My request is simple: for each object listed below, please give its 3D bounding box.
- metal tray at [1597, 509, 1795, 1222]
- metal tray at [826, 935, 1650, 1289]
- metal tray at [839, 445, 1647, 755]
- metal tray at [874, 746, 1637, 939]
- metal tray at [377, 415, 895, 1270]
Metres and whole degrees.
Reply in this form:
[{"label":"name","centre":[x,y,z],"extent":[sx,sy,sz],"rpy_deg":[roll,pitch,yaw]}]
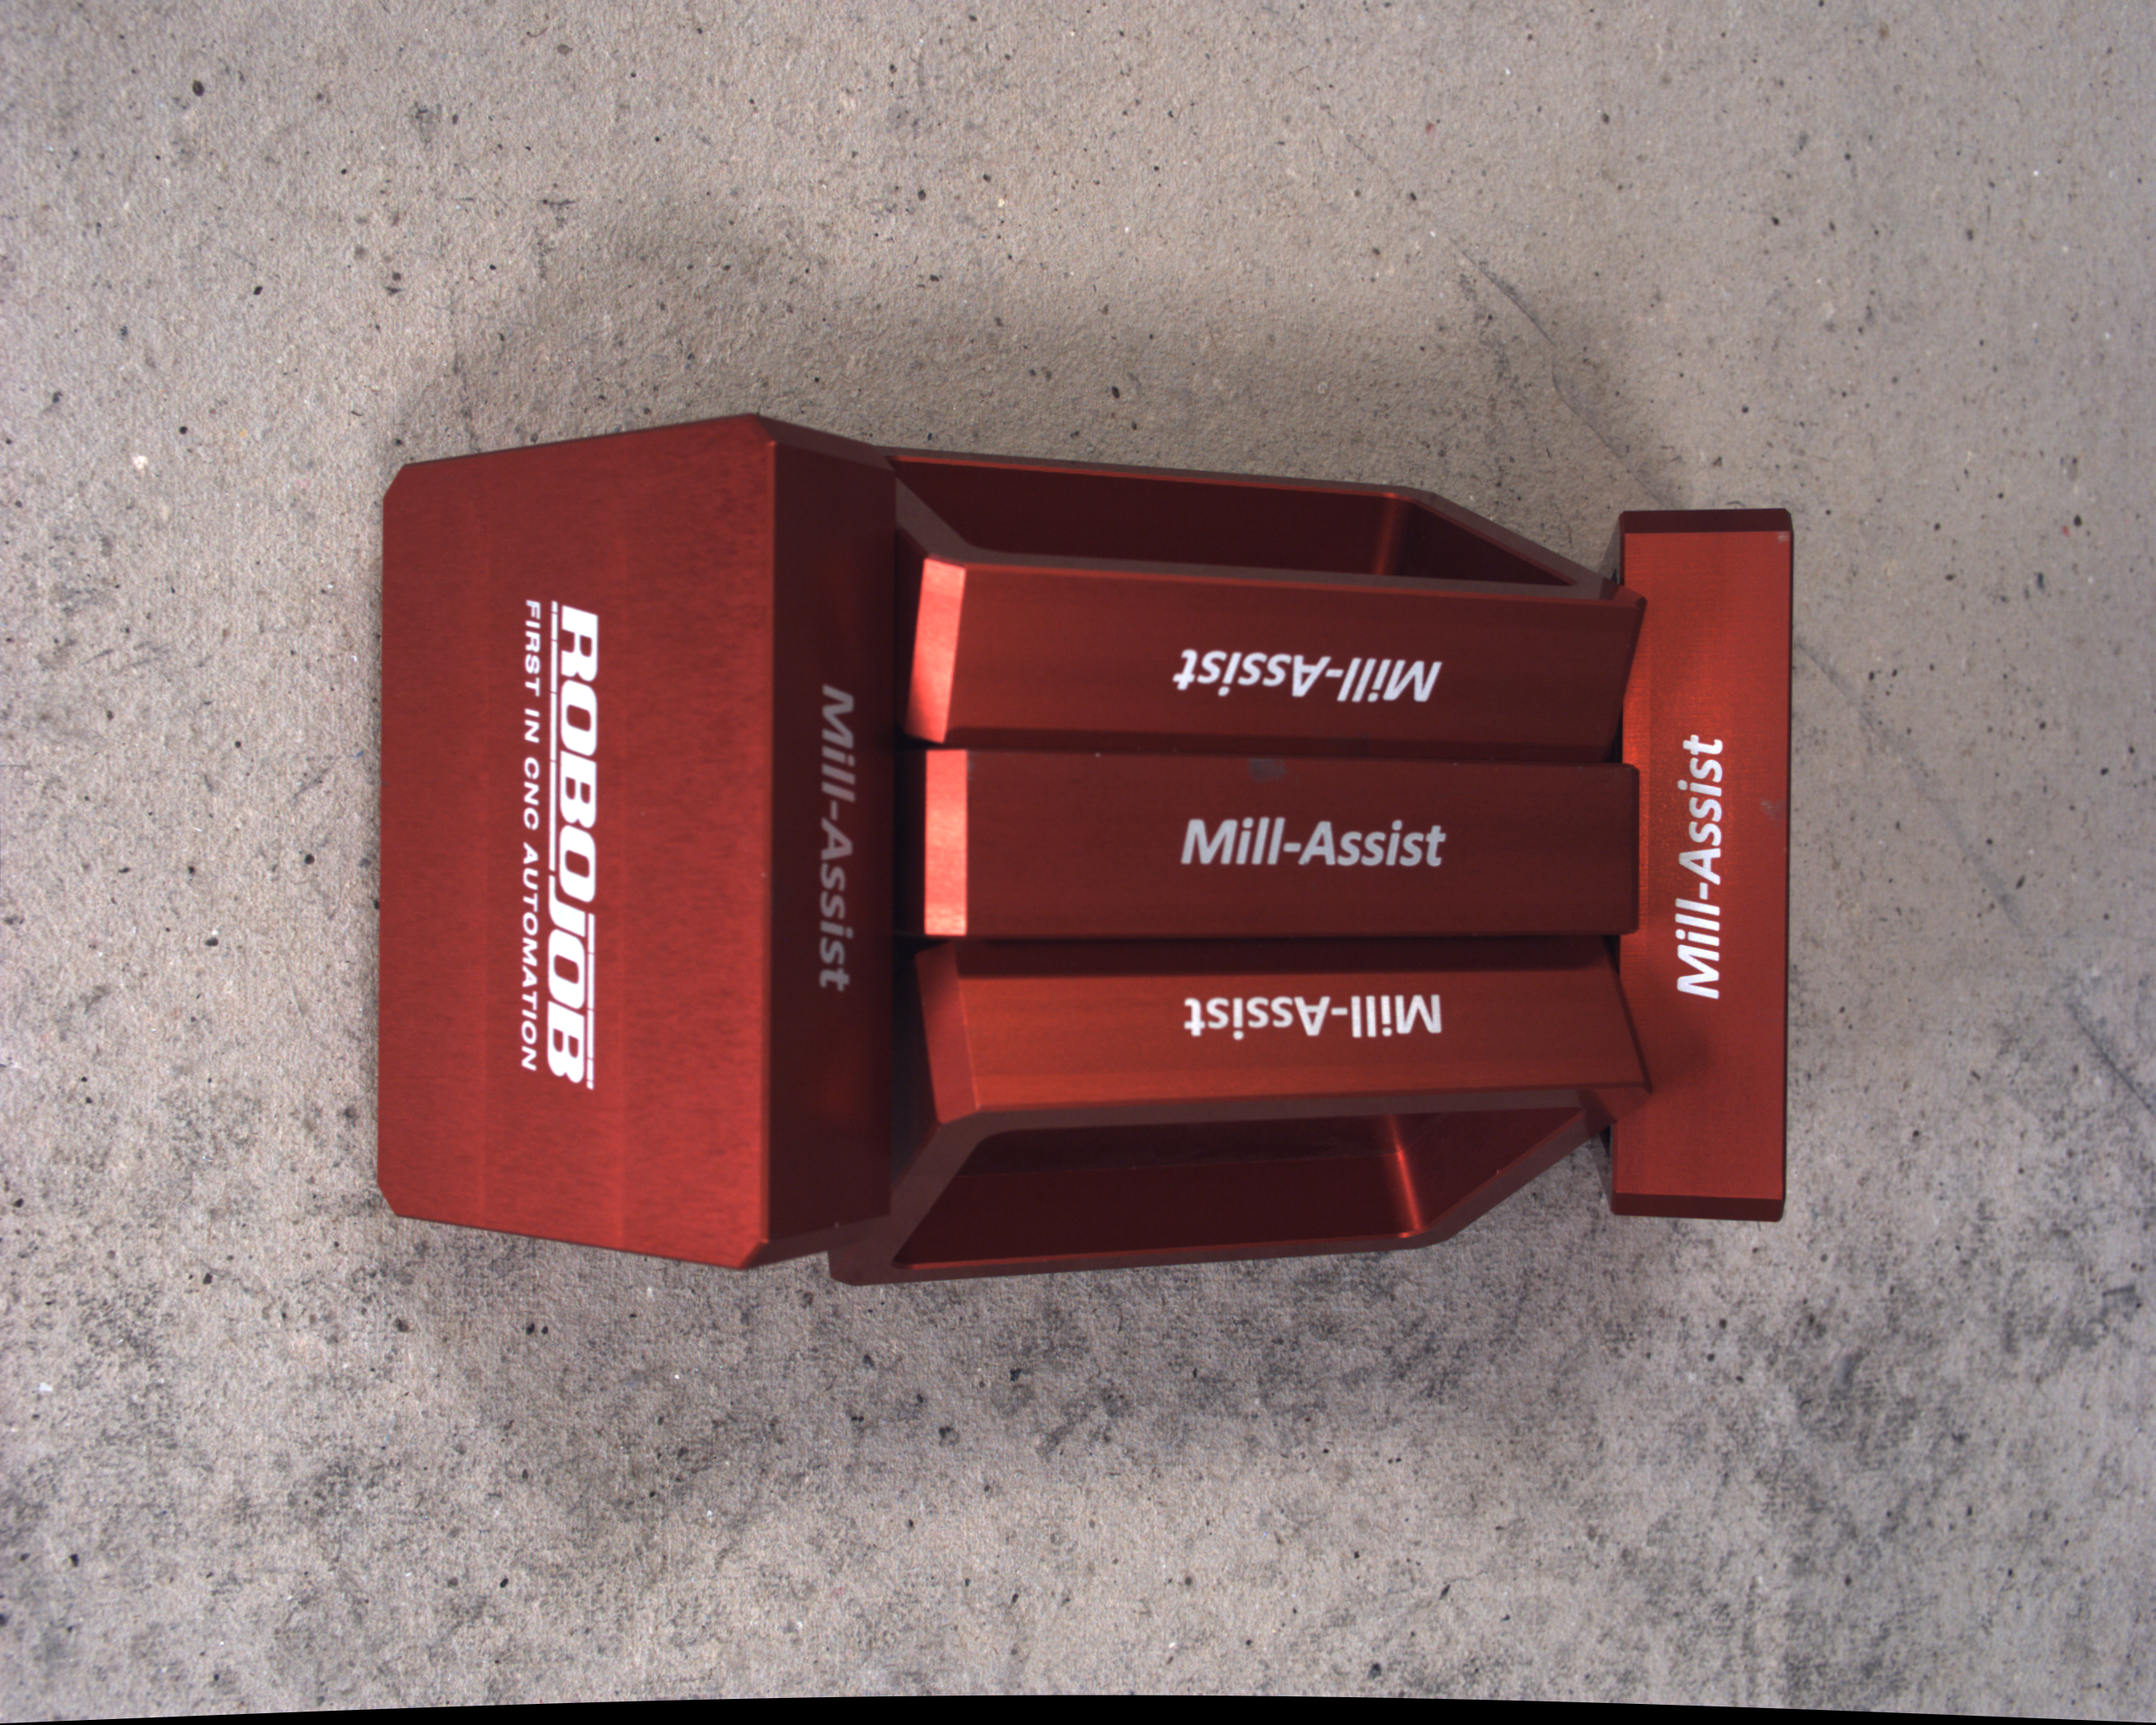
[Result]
[{"label":"metal tray","centre":[0.122,0.000,0.419],"extent":[0.030,0.090,0.129],"rpy_deg":[1,90,12]},{"label":"metal tray","centre":[0.025,0.047,0.384],"extent":[0.131,0.090,0.030],"rpy_deg":[1,61,-20]},{"label":"metal tray","centre":[0.023,-0.049,0.382],"extent":[0.131,0.090,0.030],"rpy_deg":[0,112,-20]},{"label":"metal tray","centre":[0.024,-0.003,0.384],"extent":[0.131,0.090,0.030],"rpy_deg":[0,90,-20]},{"label":"metal tray","centre":[-0.075,-0.003,0.349],"extent":[0.030,0.090,0.129],"rpy_deg":[0,90,-57]}]
